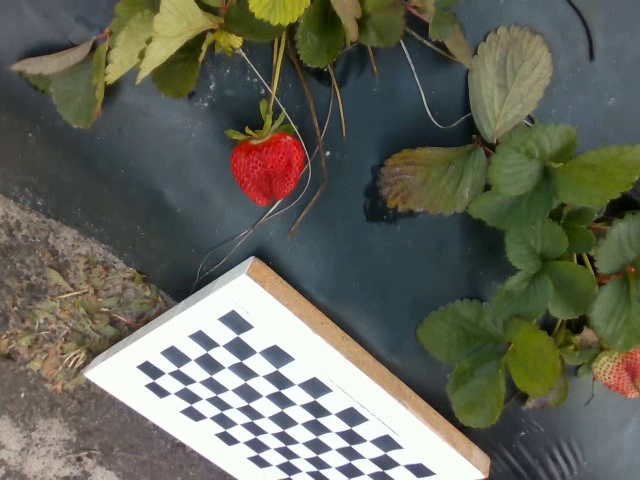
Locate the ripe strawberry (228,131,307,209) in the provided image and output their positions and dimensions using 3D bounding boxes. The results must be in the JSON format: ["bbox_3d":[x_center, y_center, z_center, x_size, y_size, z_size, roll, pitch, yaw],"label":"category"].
[{"bbox_3d":[-0.010,-0.012,0.106,0.017,0.015,0.013,-8,-7,28],"label":"ripe strawberry"}]
